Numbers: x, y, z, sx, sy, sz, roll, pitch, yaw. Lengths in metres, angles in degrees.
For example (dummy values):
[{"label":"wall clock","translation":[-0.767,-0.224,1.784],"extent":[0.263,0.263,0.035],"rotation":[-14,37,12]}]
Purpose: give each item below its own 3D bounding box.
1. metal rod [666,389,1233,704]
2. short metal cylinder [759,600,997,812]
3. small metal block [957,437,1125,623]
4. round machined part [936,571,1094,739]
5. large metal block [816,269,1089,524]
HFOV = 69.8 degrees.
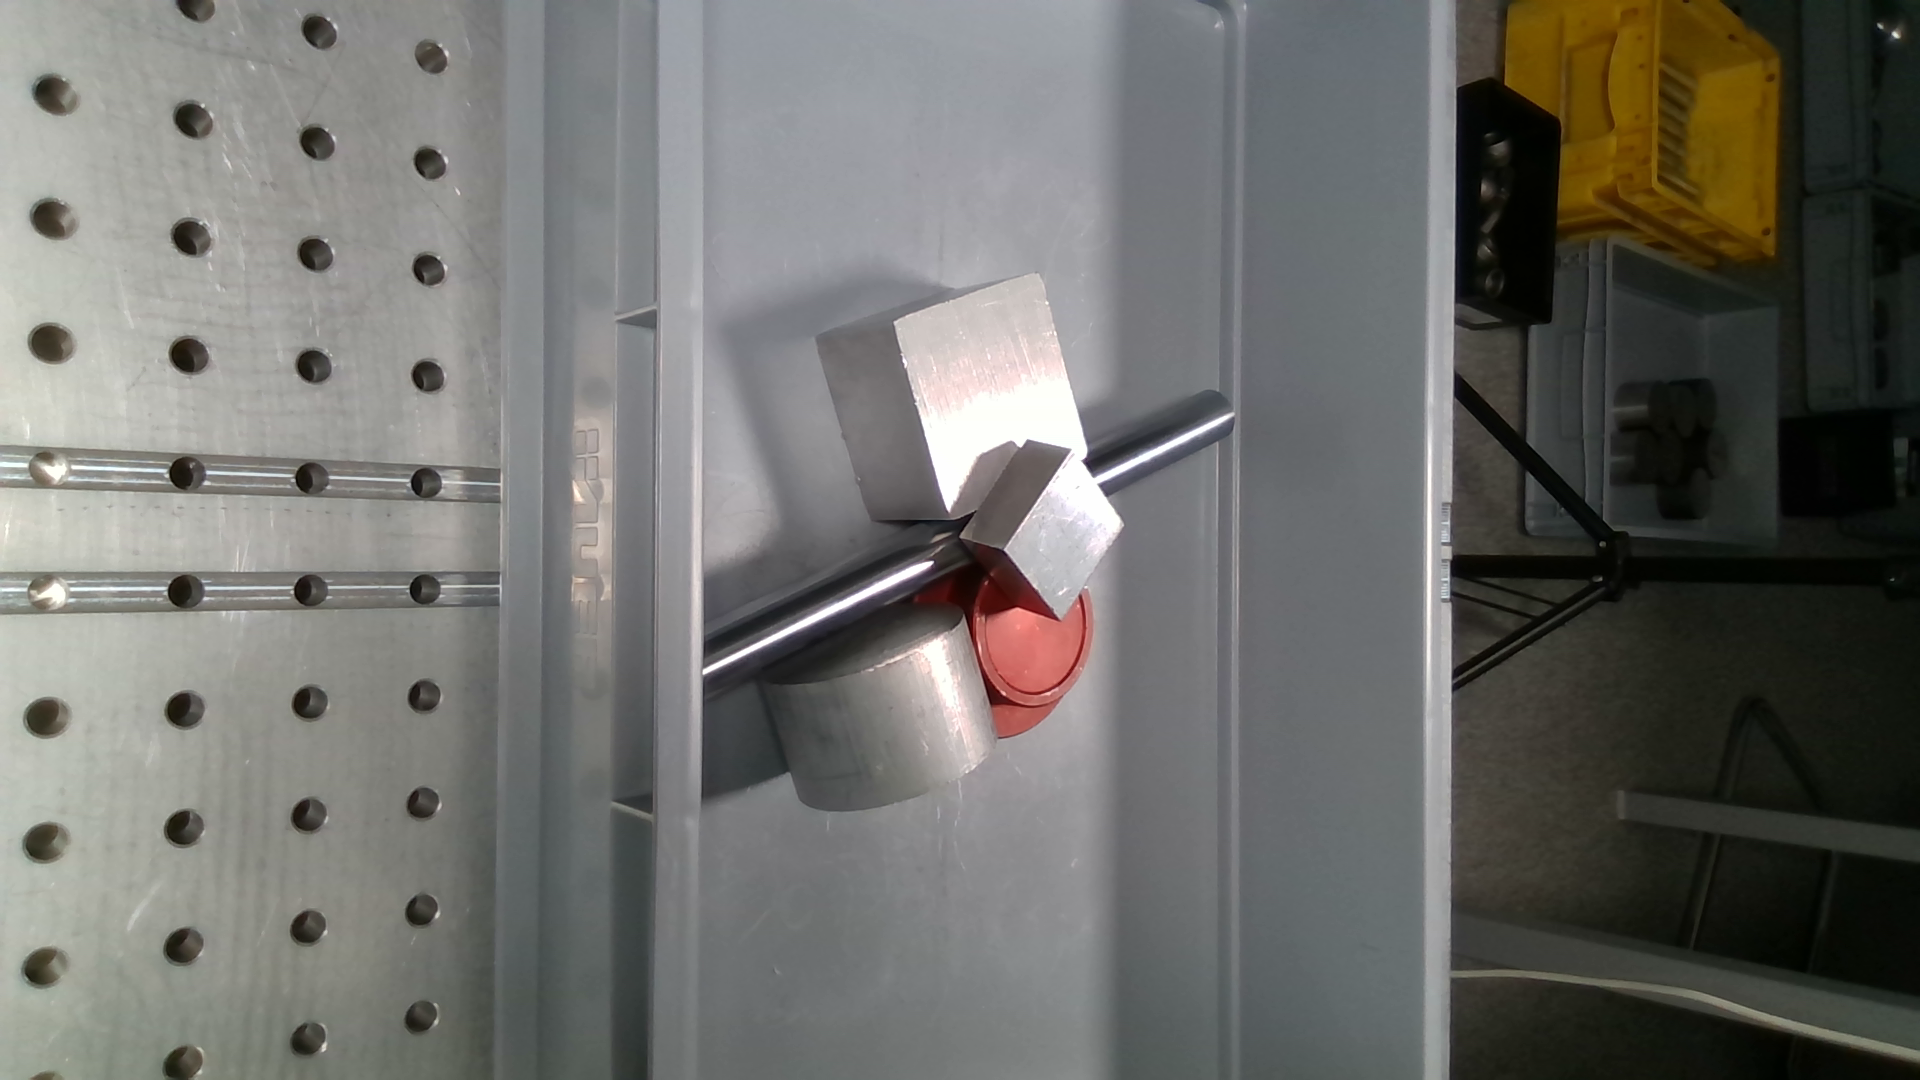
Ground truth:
[{"label":"metal rod","translation":[0.013,-0.008,0.565],"extent":[0.300,0.025,0.025],"rotation":[-26,106,-37]},{"label":"short metal cylinder","translation":[-0.031,0.061,0.520],"extent":[0.080,0.080,0.050],"rotation":[-26,107,-37]},{"label":"small metal block","translation":[0.033,-0.004,0.547],"extent":[0.050,0.025,0.050],"rotation":[-55,134,-17]},{"label":"round machined part","translation":[0.019,0.036,0.586],"extent":[0.098,0.042,0.098],"rotation":[0,90,-40]},{"label":"large metal block","translation":[-0.002,-0.058,0.561],"extent":[0.080,0.050,0.080],"rotation":[-26,107,-37]}]
